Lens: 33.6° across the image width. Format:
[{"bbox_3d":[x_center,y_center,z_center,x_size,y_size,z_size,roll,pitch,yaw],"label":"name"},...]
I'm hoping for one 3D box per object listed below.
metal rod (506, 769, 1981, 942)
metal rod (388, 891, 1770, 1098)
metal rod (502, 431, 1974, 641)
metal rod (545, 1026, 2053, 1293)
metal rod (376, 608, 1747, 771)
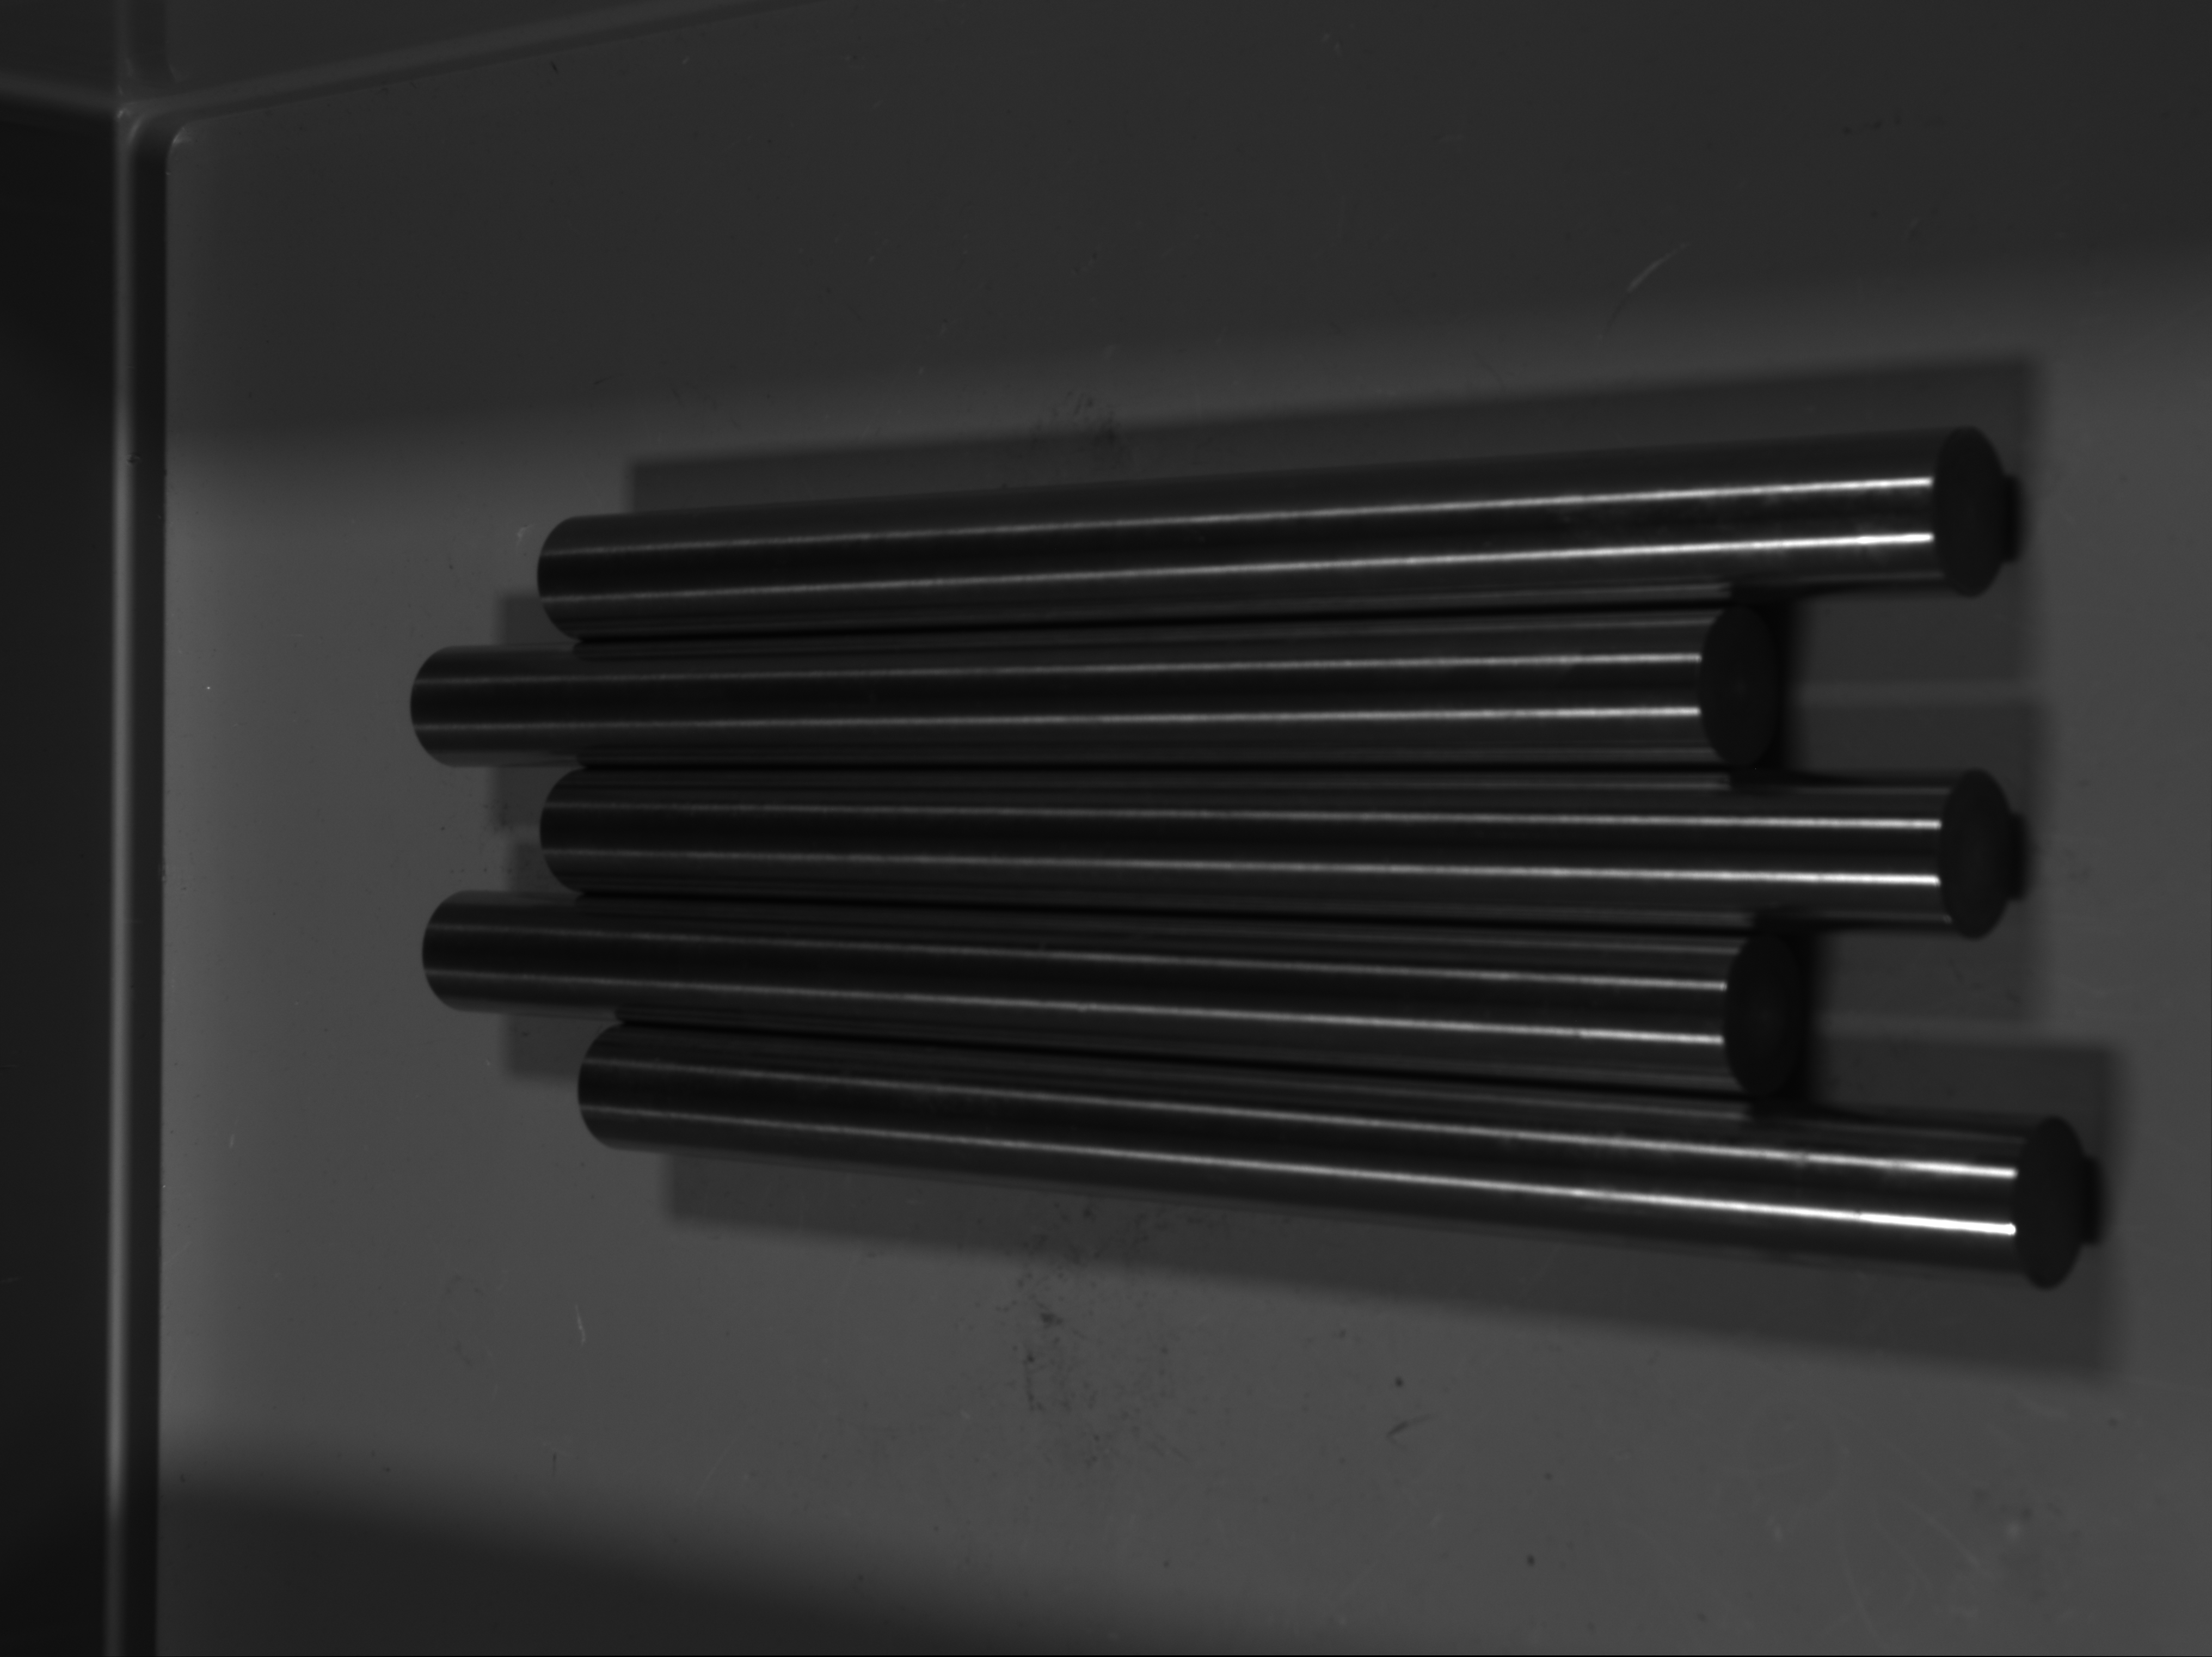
[{"bbox_3d":[0.006,0.002,0.630,0.299,0.025,0.025,1,90,39],"label":"metal rod"},{"bbox_3d":[-0.021,0.027,0.652,0.299,0.025,0.025,1,90,39],"label":"metal rod"},{"bbox_3d":[0.006,-0.047,0.631,0.299,0.025,0.025,1,90,39],"label":"metal rod"},{"bbox_3d":[0.015,0.053,0.622,0.299,0.025,0.025,1,90,39],"label":"metal rod"},{"bbox_3d":[-0.024,-0.023,0.655,0.299,0.025,0.025,1,90,39],"label":"metal rod"}]
